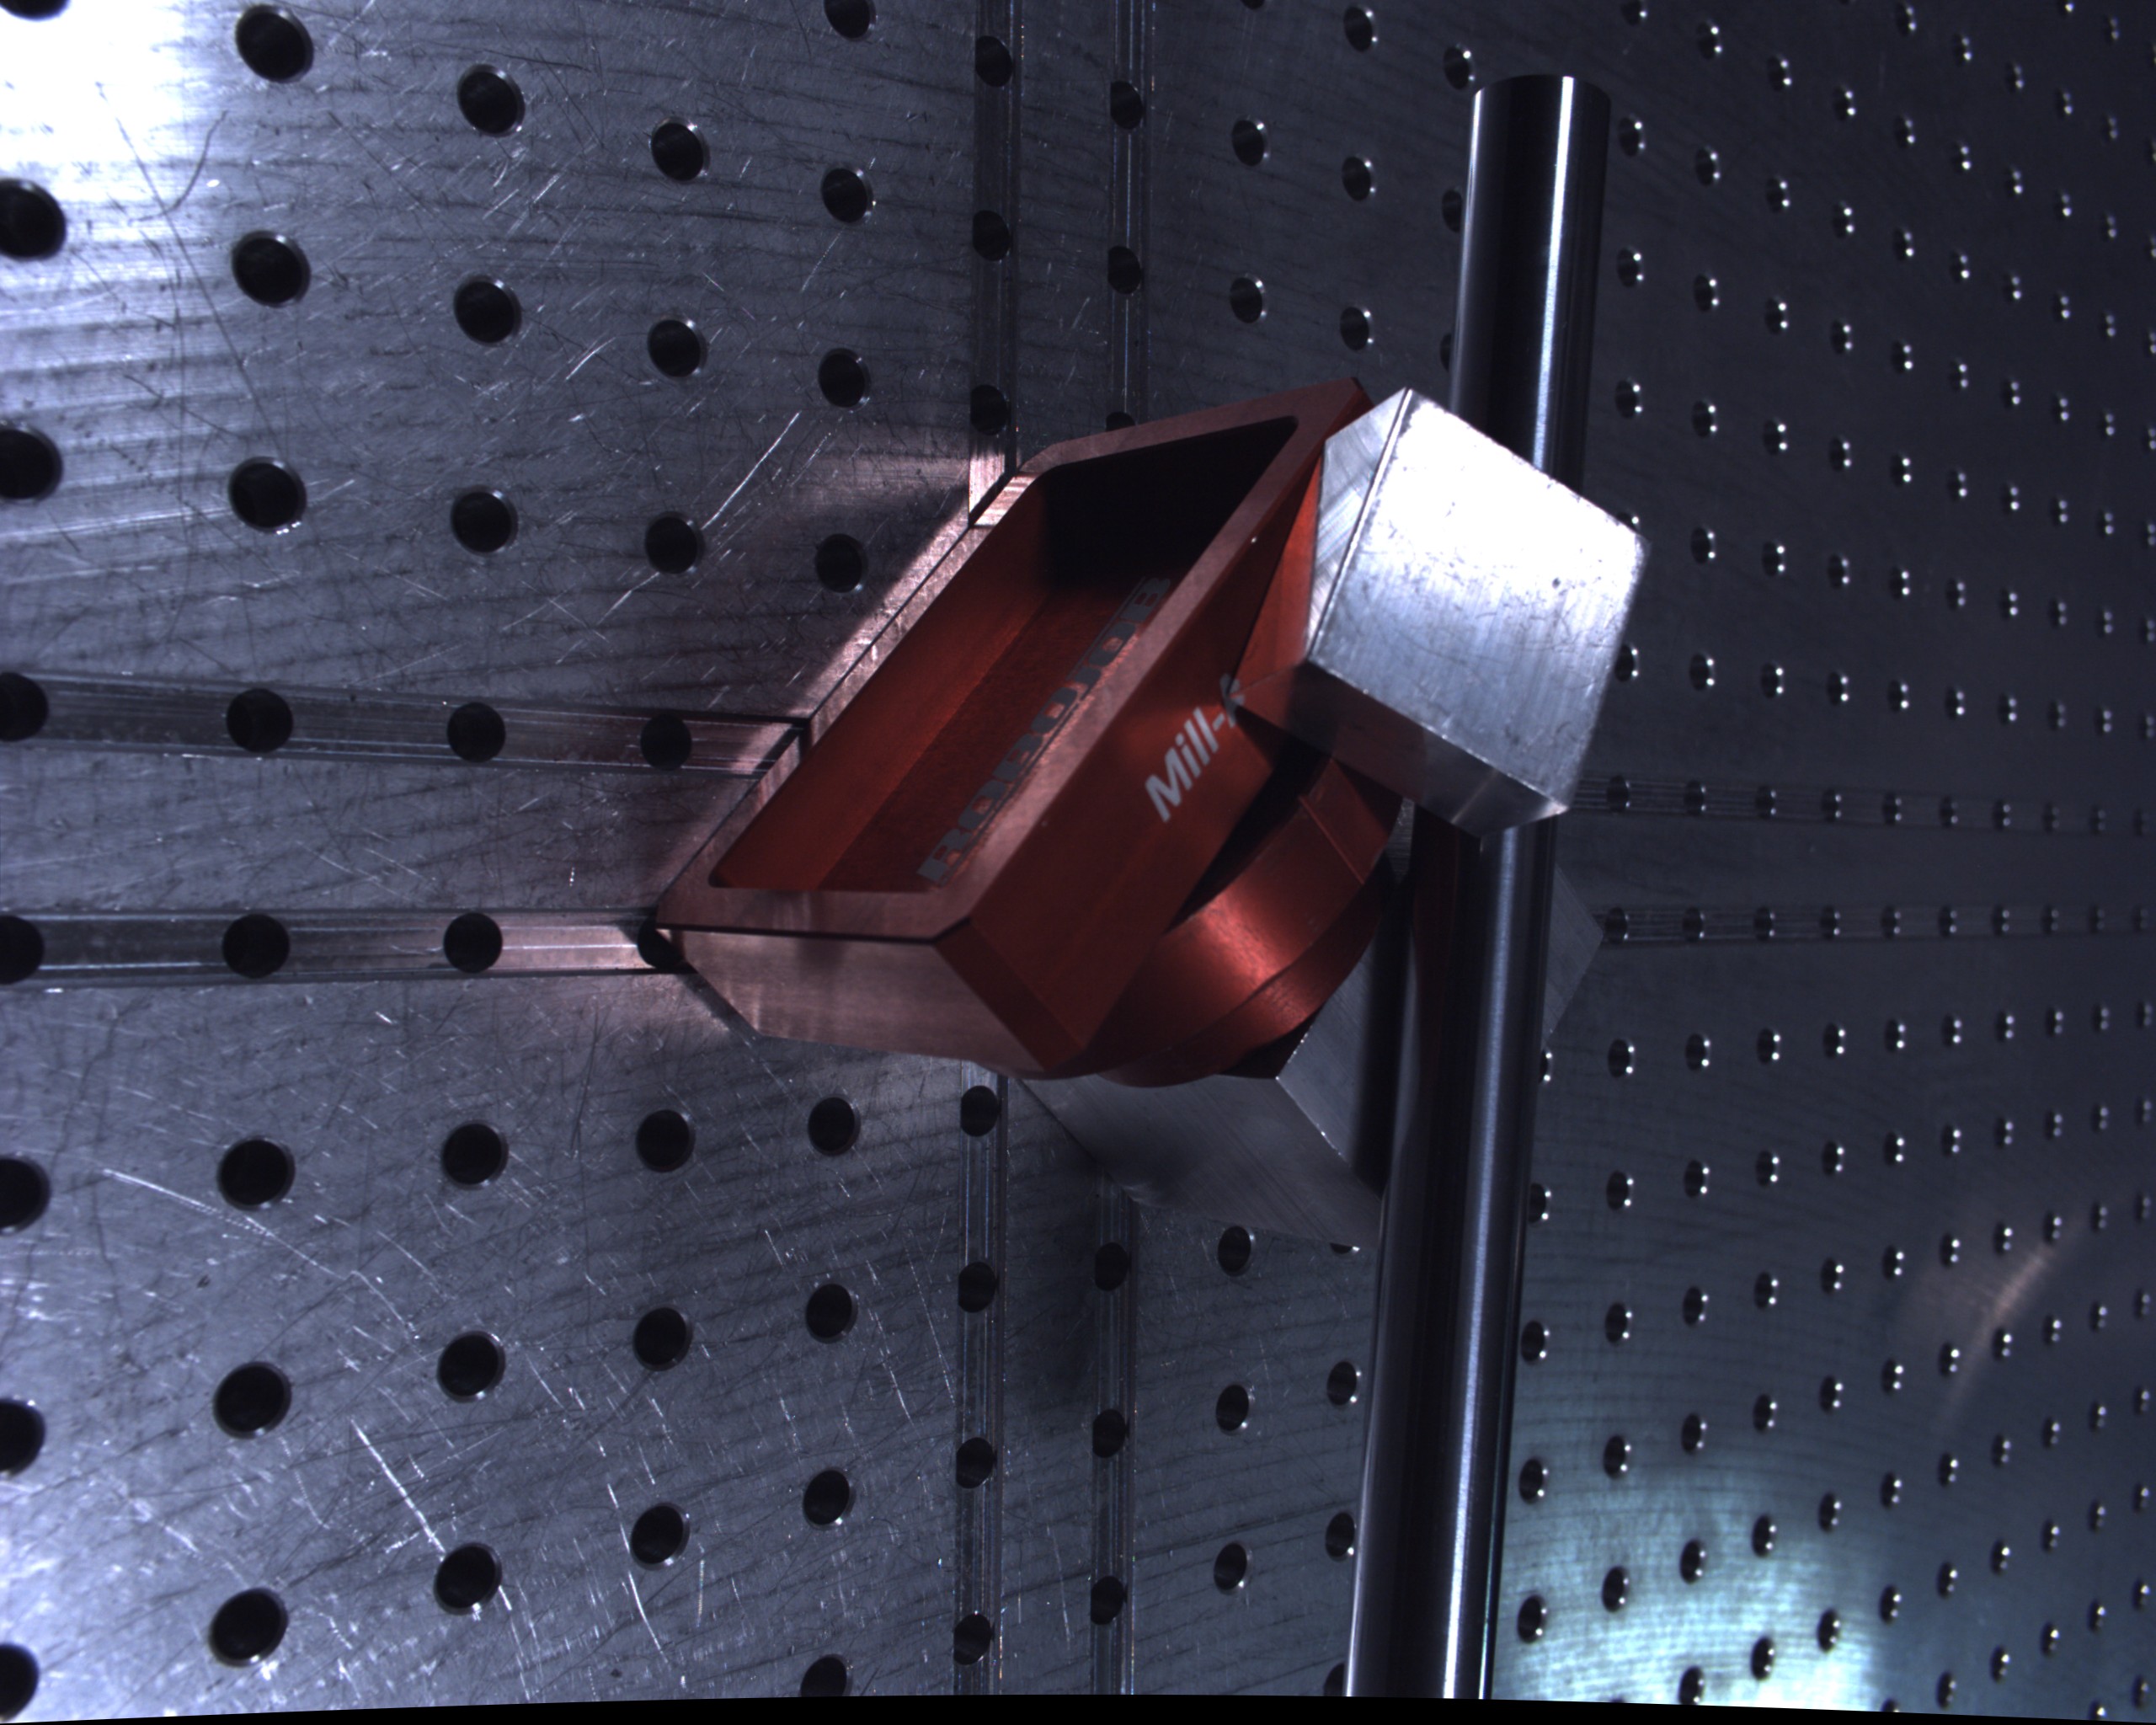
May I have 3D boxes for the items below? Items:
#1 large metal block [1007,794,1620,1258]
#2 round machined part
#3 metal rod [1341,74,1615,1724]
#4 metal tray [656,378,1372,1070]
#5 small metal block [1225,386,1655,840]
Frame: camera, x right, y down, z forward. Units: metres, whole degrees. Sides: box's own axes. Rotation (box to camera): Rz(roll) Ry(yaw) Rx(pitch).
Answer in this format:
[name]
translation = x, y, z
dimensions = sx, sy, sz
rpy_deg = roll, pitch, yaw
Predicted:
[large metal block]
translation = 0.045, 0.027, 0.410
dimensions = 0.050, 0.080, 0.080
rpy_deg = 51, 60, -29
[round machined part]
translation = 0.012, -0.001, 0.379
dimensions = 0.042, 0.098, 0.098
rpy_deg = 50, 60, -29
[metal rod]
translation = 0.070, 0.011, 0.366
dimensions = 0.025, 0.025, 0.298
rpy_deg = 9, 84, -40
[metal tray]
translation = -0.005, -0.026, 0.364
dimensions = 0.030, 0.090, 0.130
rpy_deg = 51, 60, -28
[small metal block]
translation = 0.058, -0.039, 0.332
dimensions = 0.050, 0.025, 0.050
rpy_deg = 27, 70, -17
